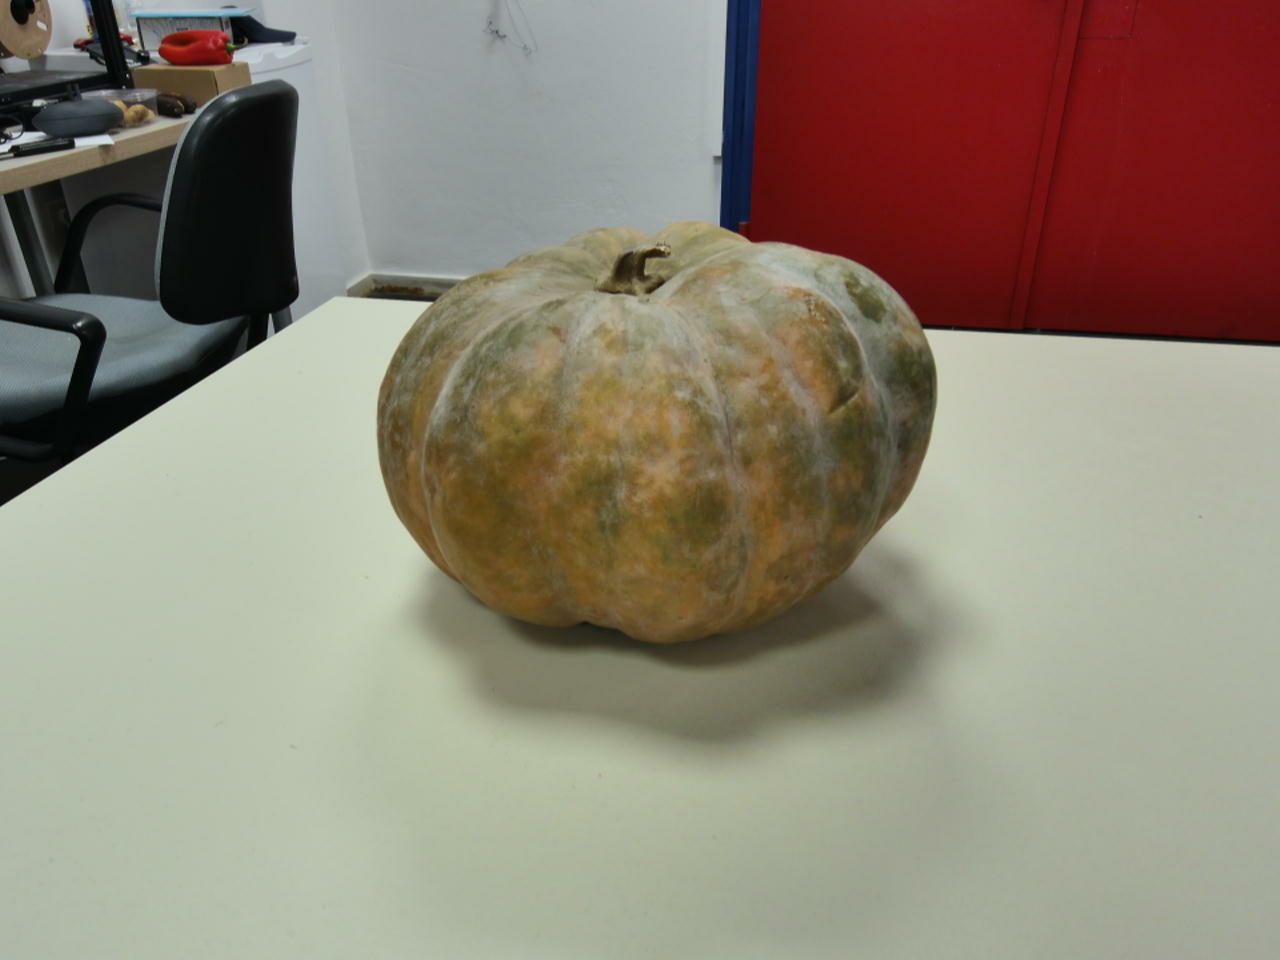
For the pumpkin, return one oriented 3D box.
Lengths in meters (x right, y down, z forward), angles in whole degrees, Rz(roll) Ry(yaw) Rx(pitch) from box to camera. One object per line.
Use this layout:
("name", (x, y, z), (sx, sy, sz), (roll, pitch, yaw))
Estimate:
("pumpkin", (0.001, -0.030, 0.469), (0.252, 0.169, 0.251), (0, 25, 0))
